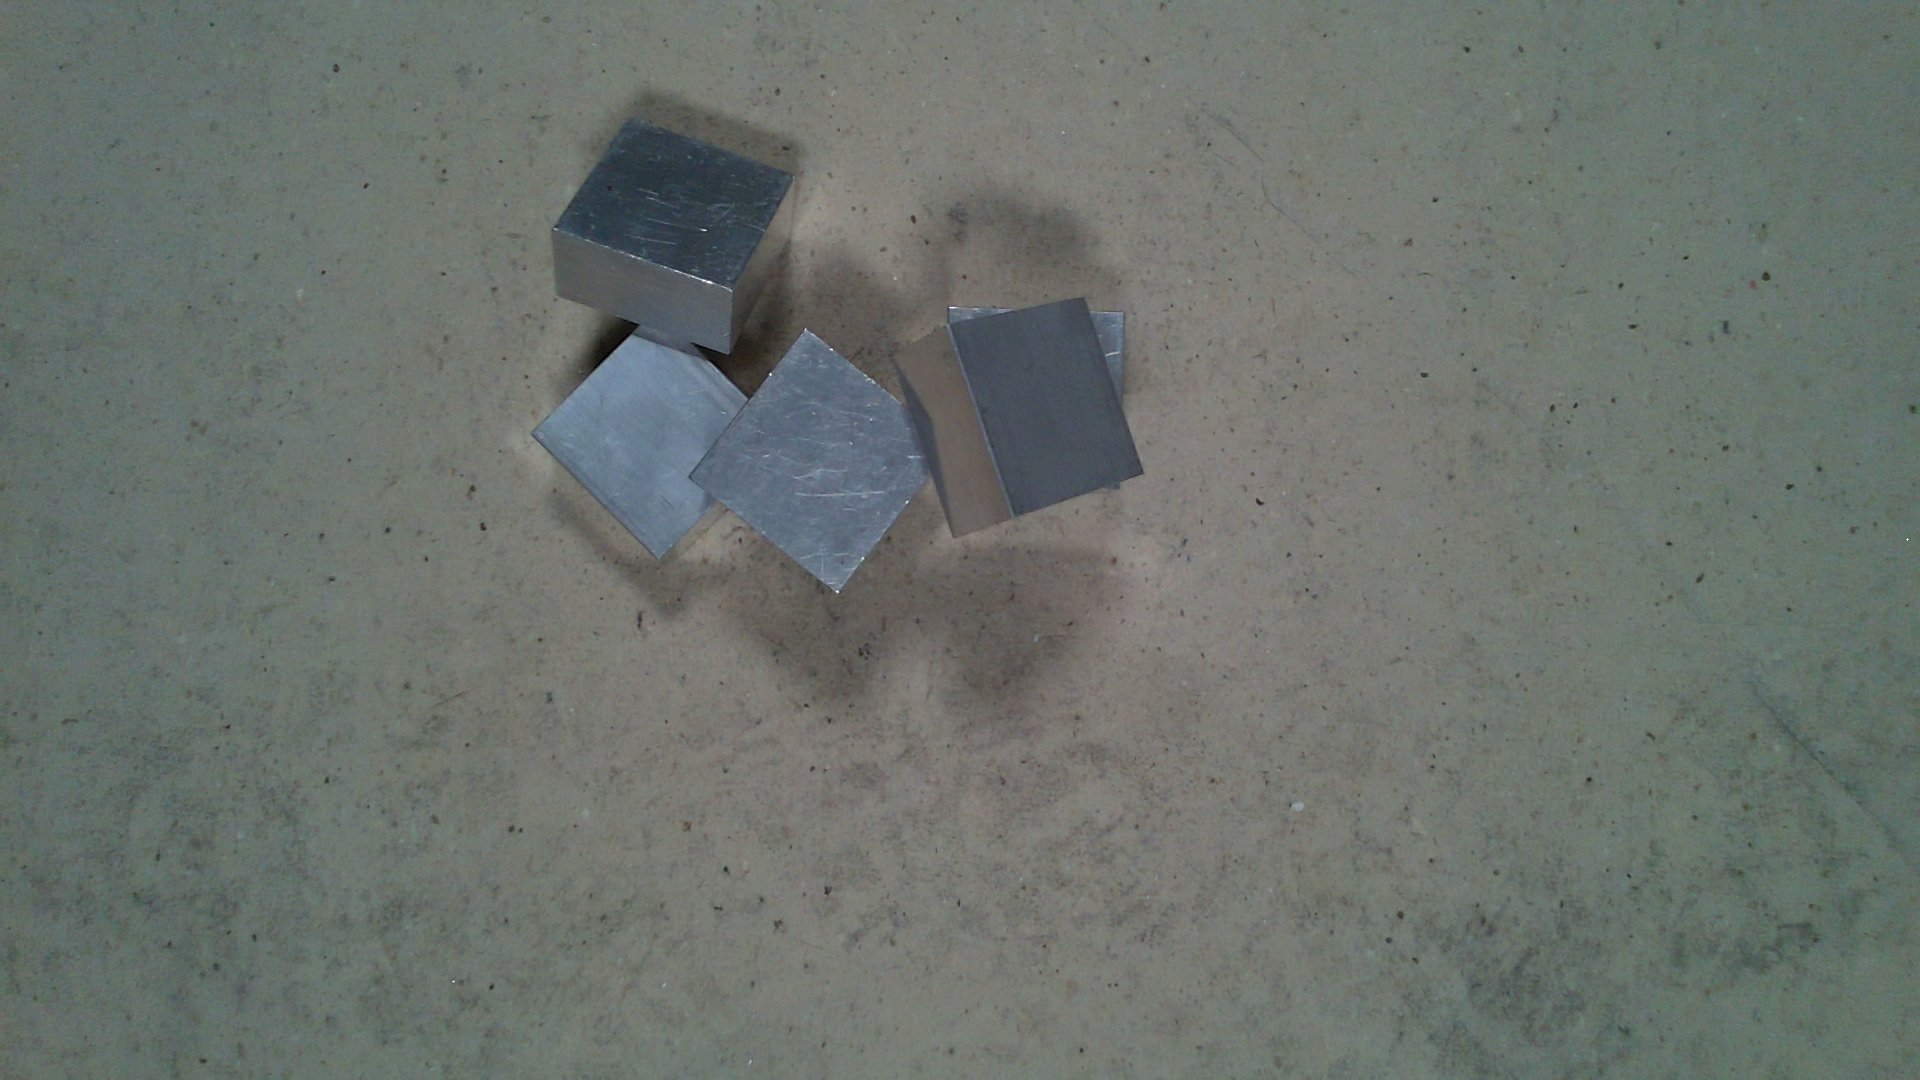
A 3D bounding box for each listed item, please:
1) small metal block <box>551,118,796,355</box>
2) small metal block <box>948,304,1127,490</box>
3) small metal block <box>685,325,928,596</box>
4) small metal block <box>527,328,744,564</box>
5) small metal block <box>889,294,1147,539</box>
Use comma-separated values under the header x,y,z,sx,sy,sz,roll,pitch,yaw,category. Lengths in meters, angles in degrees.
x,y,z,sx,sy,sz,roll,pitch,yaw,category
-0.079,-0.085,0.383,0.050,0.025,0.050,19,54,0,small metal block
0.021,-0.040,0.395,0.050,0.025,0.050,2,90,0,small metal block
-0.036,-0.021,0.369,0.050,0.025,0.050,38,90,0,small metal block
-0.085,-0.029,0.395,0.050,0.025,0.050,-45,90,0,small metal block
0.016,-0.033,0.358,0.050,0.025,0.050,-19,90,-40,small metal block
